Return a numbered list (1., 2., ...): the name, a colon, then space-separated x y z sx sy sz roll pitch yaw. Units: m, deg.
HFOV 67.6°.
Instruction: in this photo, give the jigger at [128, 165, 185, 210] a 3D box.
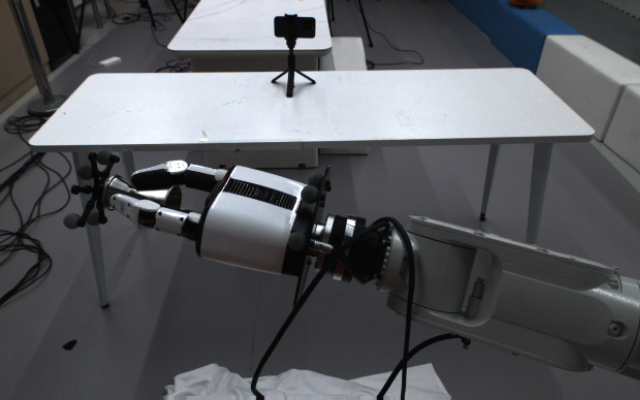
1. jigger: -0.182 -0.003 0.516 0.071 0.043 0.043 11 35 5
